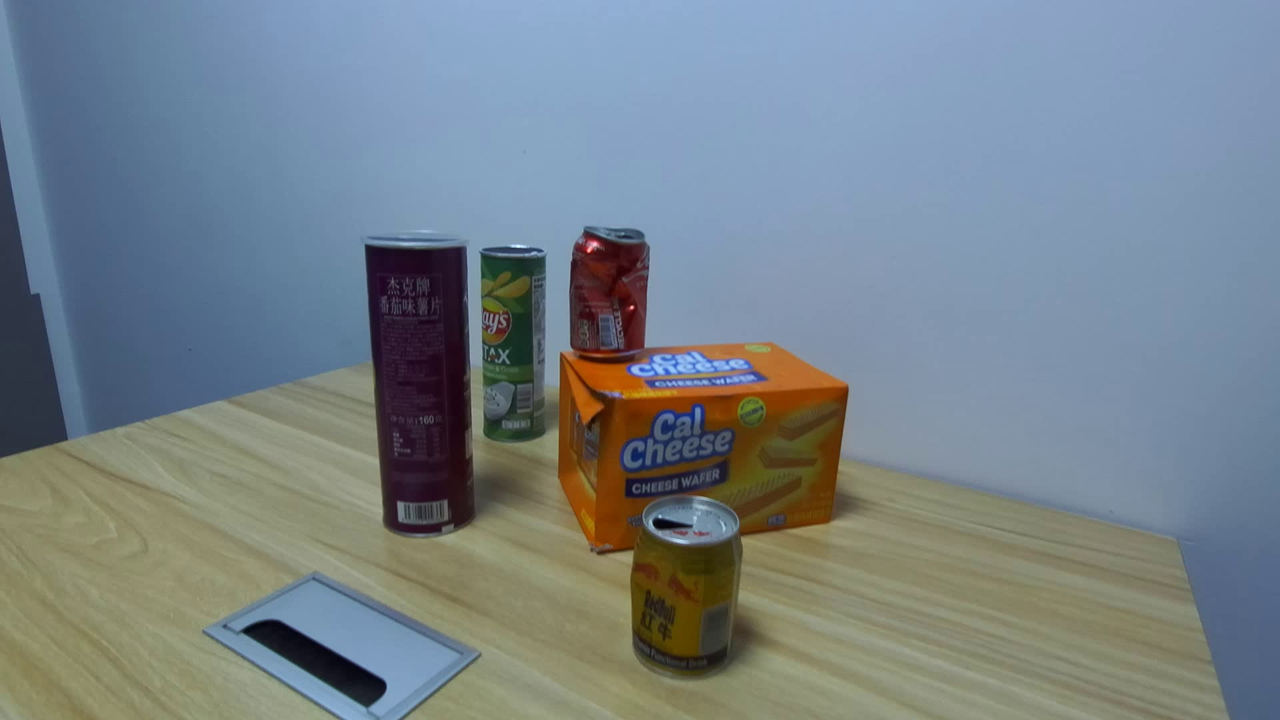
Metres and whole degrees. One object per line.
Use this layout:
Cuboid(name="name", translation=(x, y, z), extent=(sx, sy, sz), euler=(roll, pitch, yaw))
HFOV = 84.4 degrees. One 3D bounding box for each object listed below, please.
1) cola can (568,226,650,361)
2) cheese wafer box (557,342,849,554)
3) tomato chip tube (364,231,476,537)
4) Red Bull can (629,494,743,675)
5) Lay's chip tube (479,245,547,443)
Cuboid(name="cola can", translation=(-0.028, -0.059, 0.616), extent=(0.069, 0.112, 0.065), euler=(3, 18, -1))
Cuboid(name="cheese wafer box", translation=(0.046, 0.063, 0.629), extent=(0.228, 0.137, 0.149), euler=(-2, 18, -18))
Cuboid(name="tomato chip tube", translation=(-0.175, 0.021, 0.572), extent=(0.078, 0.233, 0.078), euler=(2, 15, 0))
Cuboid(name="Red Bull can", translation=(0.029, 0.139, 0.441), extent=(0.069, 0.092, 0.069), euler=(3, 18, -1))
Cuboid(name="Lay's chip tube", translation=(-0.136, -0.018, 0.766), extent=(0.071, 0.202, 0.071), euler=(2, 16, 0))
